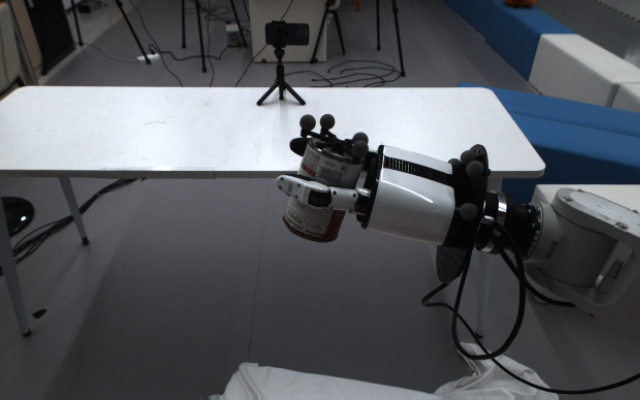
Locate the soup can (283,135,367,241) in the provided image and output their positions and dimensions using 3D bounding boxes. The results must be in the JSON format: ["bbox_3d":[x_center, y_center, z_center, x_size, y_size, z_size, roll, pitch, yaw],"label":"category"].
[{"bbox_3d":[0.005,-0.013,0.547,0.067,0.101,0.067,17,21,-7],"label":"soup can"}]
